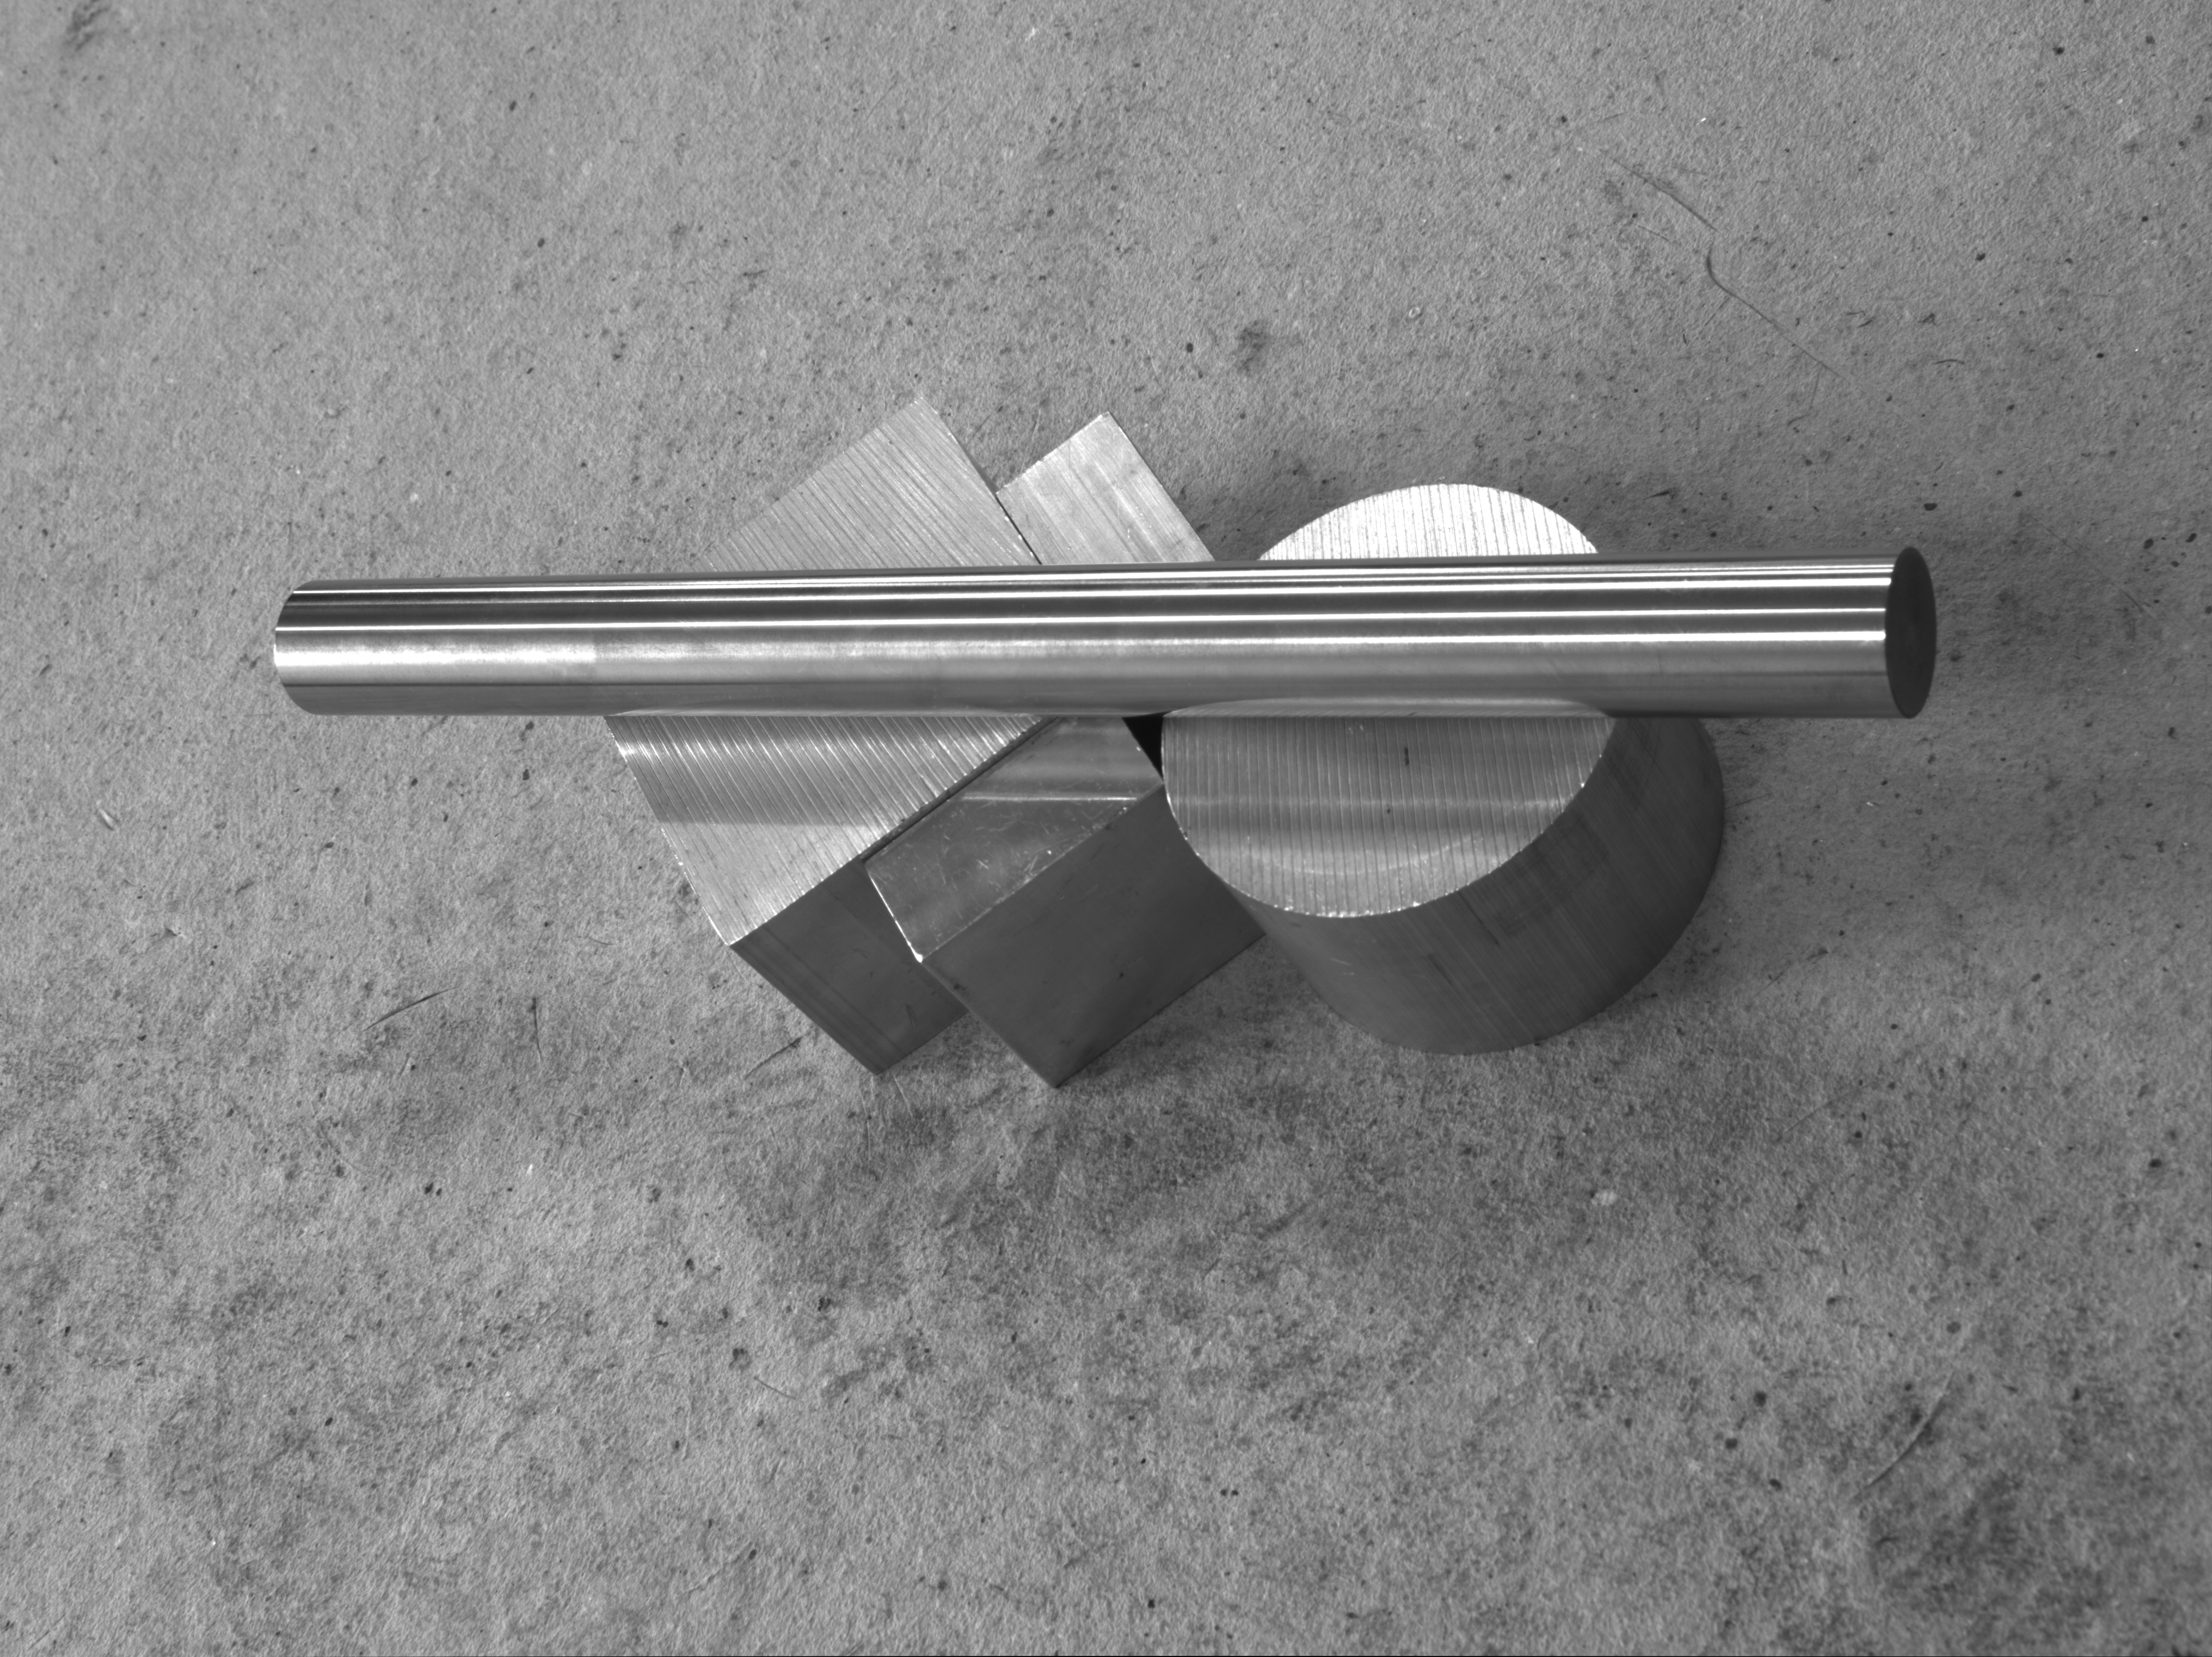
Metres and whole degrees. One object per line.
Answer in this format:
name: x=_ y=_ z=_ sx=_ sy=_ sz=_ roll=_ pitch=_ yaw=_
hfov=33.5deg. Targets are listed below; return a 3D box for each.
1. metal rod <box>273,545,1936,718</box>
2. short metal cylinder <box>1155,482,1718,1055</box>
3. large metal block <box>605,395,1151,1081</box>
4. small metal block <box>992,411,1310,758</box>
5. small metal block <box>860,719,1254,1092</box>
metal rod: x=-0.014 y=-0.031 z=0.605 sx=0.299 sy=0.025 sz=0.025 roll=1 pitch=62 yaw=29
short metal cylinder: x=0.055 y=-0.010 z=0.605 sx=0.080 sy=0.050 sz=0.080 roll=-14 pitch=56 yaw=21
large metal block: x=-0.038 y=-0.017 z=0.659 sx=0.080 sy=0.050 sz=0.080 roll=-36 pitch=51 yaw=4
small metal block: x=0.011 y=-0.038 z=0.648 sx=0.025 sy=0.050 sz=0.050 roll=-36 pitch=51 yaw=4
small metal block: x=-0.005 y=0.011 z=0.627 sx=0.050 sy=0.050 sz=0.025 roll=-37 pitch=51 yaw=4
